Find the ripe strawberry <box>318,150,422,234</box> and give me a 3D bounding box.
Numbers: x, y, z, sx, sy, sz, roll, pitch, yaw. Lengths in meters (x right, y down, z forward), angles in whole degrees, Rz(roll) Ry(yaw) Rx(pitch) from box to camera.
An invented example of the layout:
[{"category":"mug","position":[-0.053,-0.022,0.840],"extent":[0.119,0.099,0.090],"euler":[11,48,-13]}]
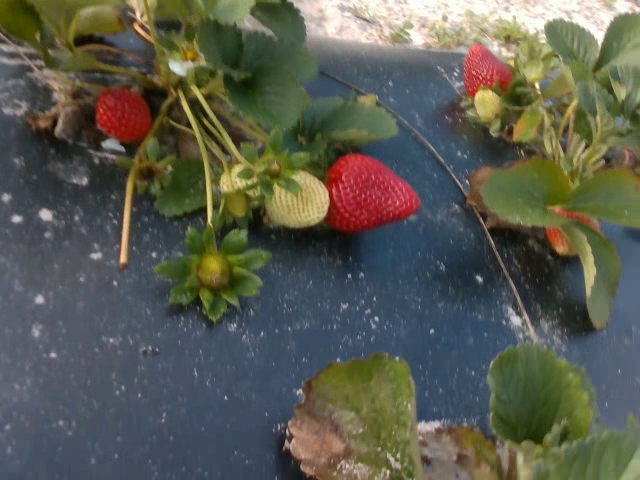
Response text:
[{"category":"ripe strawberry","position":[0.030,-0.024,0.349],"extent":[0.055,0.051,0.048],"euler":[20,-12,34]}]
